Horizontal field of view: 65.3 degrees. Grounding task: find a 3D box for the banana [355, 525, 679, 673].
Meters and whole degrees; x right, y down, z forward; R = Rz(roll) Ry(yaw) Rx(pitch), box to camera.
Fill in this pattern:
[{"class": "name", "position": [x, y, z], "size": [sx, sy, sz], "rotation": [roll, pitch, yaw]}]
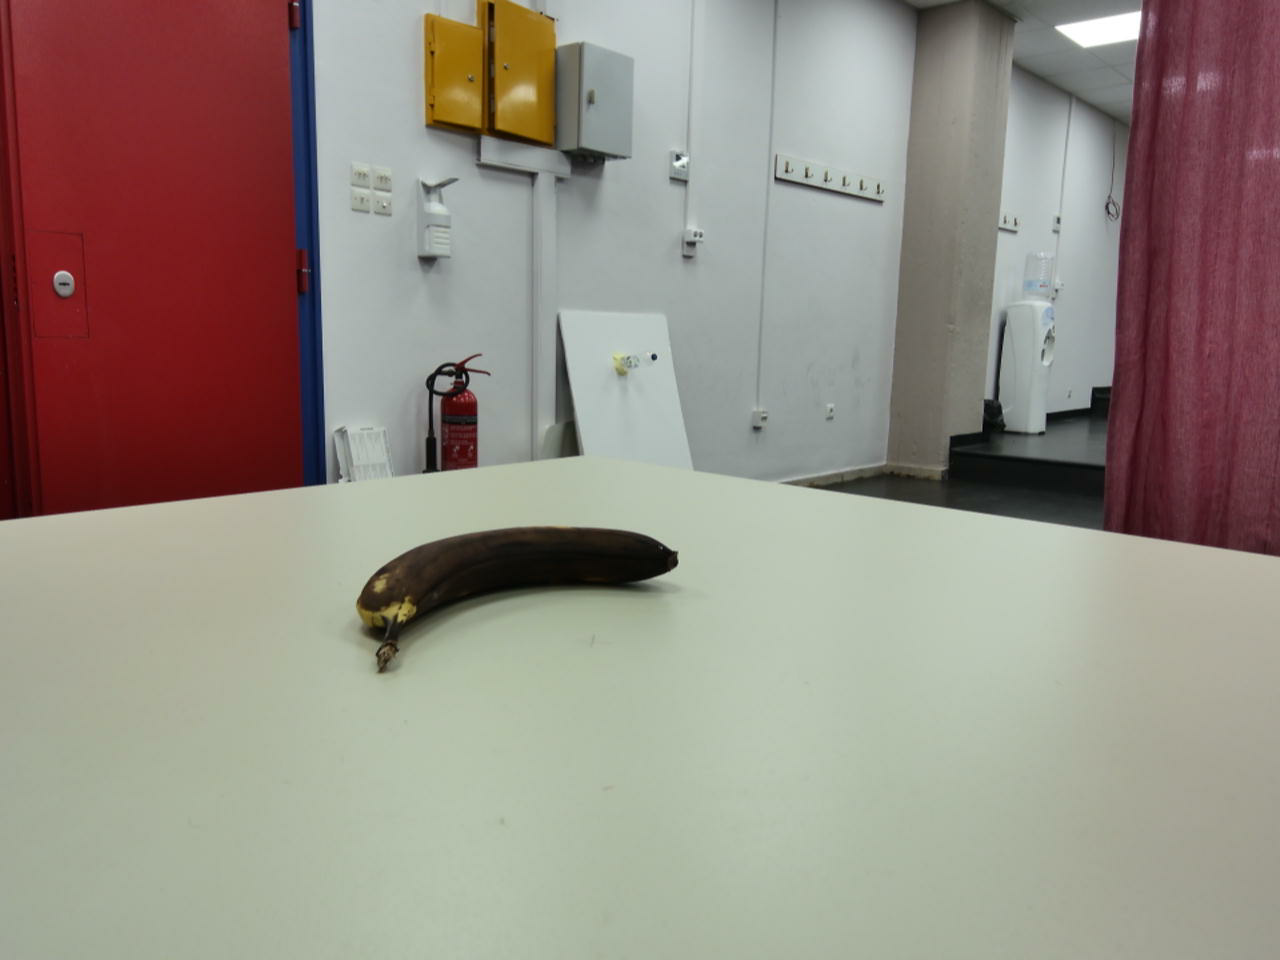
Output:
[{"class": "banana", "position": [-0.071, 0.047, 0.498], "size": [0.091, 0.033, 0.188], "rotation": [6, 9, 42]}]
